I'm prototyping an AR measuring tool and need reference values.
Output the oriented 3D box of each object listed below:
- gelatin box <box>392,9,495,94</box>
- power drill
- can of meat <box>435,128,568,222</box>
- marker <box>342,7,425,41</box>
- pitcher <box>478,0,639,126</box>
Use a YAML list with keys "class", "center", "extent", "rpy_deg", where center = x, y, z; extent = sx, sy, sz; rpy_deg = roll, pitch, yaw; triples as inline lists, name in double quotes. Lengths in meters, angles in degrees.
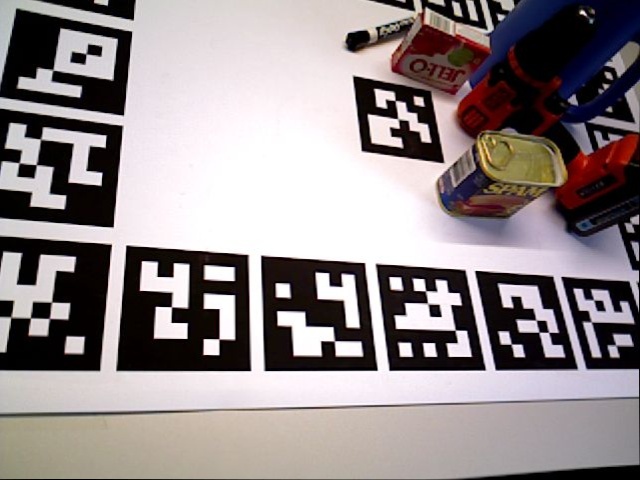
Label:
- class: "gelatin box"
  center: [0.139, -0.210, 0.615]
  extent: [0.088, 0.075, 0.030]
  rpy_deg: [16, 66, -17]
- class: "power drill"
  center: [0.255, -0.134, 0.563]
  extent: [0.187, 0.188, 0.056]
  rpy_deg: [39, 61, -8]
- class: "can of meat"
  center: [0.181, -0.062, 0.557]
  extent: [0.100, 0.085, 0.057]
  rpy_deg: [4, 64, -21]
- class: "marker"
  center: [0.076, -0.254, 0.638]
  extent: [0.118, 0.020, 0.019]
  rpy_deg: [-24, 78, -27]
- class: "pitcher"
  center: [0.300, -0.234, 0.598]
  extent: [0.188, 0.247, 0.131]
  rpy_deg: [31, 62, 1]
